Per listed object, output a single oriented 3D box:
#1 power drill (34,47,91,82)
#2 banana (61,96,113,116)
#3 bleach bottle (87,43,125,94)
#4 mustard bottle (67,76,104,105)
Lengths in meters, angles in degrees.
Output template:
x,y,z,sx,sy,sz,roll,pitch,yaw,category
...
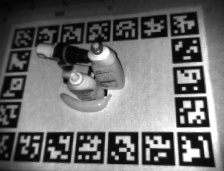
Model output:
x,y,z,sx,sy,sz,roll,pitch,yaw,category
-0.133,-0.058,0.701,0.183,0.188,0.057,10,74,14,power drill
-0.095,0.070,0.766,0.196,0.039,0.074,3,74,15,banana
-0.026,-0.049,0.672,0.102,0.253,0.068,1,67,13,bleach bottle
-0.092,0.015,0.691,0.096,0.193,0.058,-1,72,12,mustard bottle
